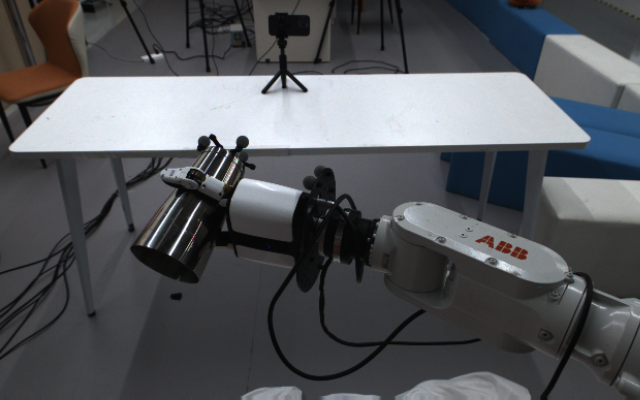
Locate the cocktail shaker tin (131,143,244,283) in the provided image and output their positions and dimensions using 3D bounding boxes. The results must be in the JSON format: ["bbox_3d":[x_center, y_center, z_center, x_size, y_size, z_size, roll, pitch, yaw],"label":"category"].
[{"bbox_3d":[-0.166,0.013,0.638,0.093,0.093,0.170,13,58,16],"label":"cocktail shaker tin"}]
